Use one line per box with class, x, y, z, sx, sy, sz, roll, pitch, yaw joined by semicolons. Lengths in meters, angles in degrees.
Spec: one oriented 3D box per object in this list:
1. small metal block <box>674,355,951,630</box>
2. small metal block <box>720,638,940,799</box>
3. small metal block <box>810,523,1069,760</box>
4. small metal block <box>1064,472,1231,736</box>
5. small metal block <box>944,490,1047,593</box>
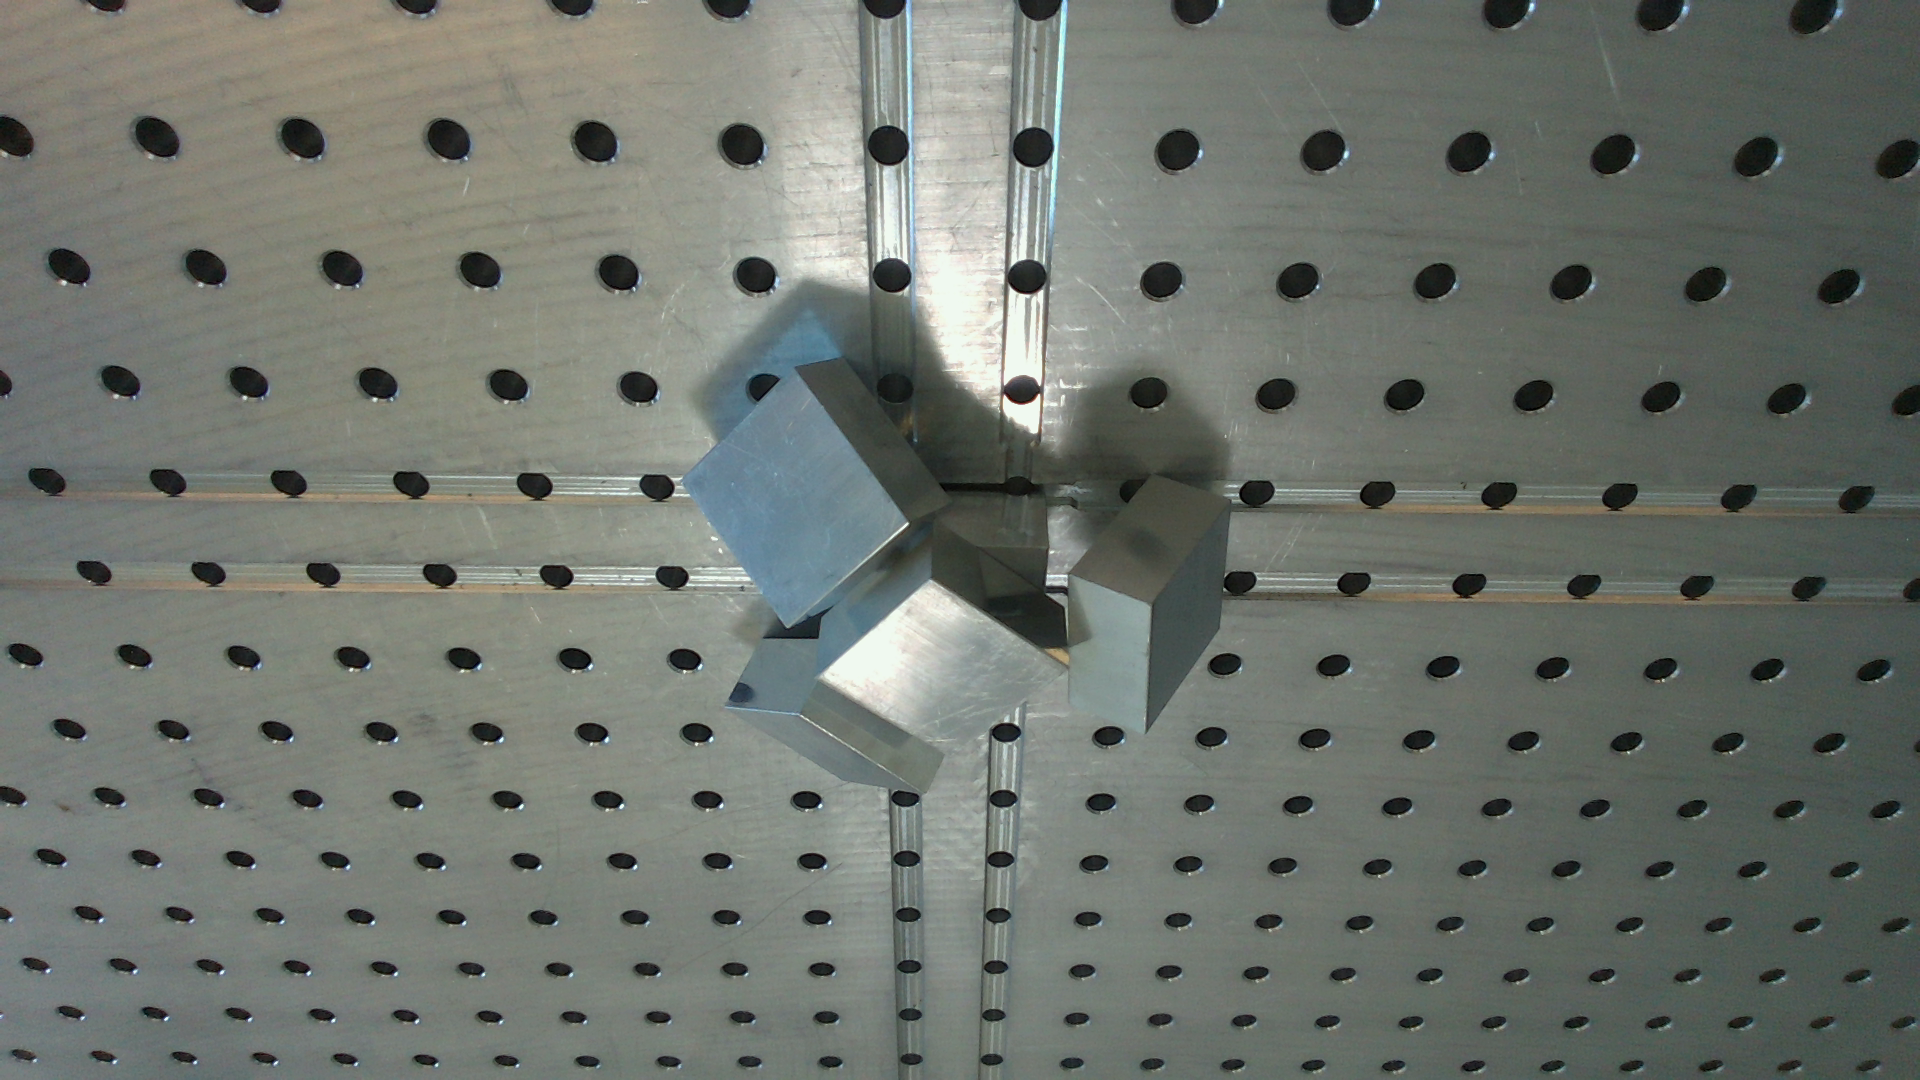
small metal block;-0.040;-0.013;0.366;0.050;0.025;0.050;-39;84;28
small metal block;-0.038;0.054;0.422;0.050;0.025;0.050;37;158;-27
small metal block;-0.006;0.029;0.384;0.050;0.025;0.050;33;122;-26
small metal block;0.053;0.018;0.389;0.025;0.050;0.050;20;136;26
small metal block;-0.001;0.012;0.404;0.050;0.025;0.050;1;133;-1
